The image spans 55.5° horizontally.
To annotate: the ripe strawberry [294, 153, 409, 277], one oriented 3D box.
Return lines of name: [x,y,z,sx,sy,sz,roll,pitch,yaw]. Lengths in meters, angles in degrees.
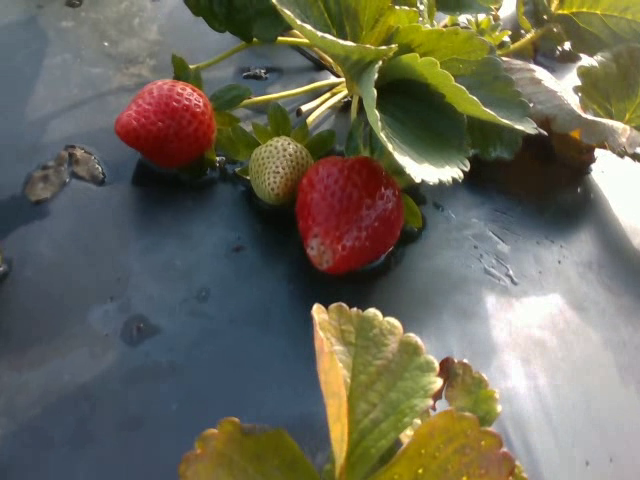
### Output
ripe strawberry: [0.008,-0.009,0.245,0.048,0.065,0.050,-12,-47,40]
